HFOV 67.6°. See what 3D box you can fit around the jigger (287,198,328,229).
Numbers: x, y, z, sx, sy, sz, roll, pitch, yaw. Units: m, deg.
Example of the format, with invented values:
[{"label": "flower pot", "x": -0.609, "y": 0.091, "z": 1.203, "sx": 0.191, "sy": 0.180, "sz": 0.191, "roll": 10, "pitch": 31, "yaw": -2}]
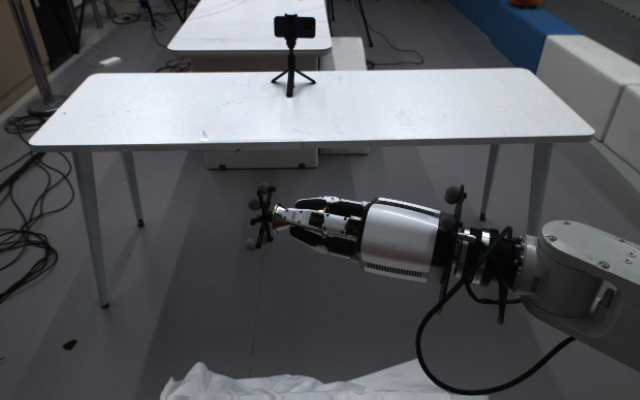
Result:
[{"label": "jigger", "x": -0.018, "y": 0.022, "z": 0.630, "sx": 0.071, "sy": 0.043, "sz": 0.043, "roll": 4, "pitch": 34, "yaw": 14}]
